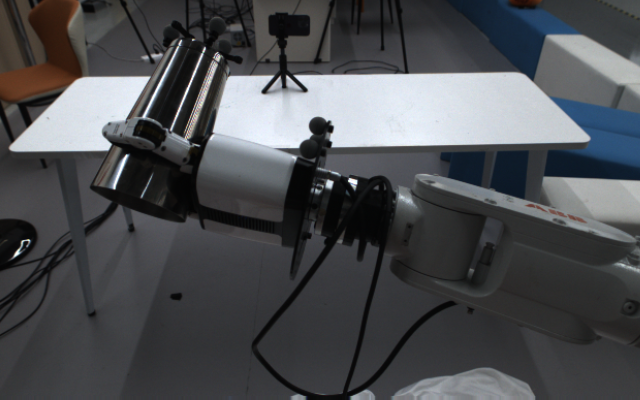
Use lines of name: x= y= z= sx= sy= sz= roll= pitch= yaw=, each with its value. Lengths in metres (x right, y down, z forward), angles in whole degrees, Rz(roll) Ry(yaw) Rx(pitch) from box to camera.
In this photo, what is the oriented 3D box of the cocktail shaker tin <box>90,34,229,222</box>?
cocktail shaker tin: x=-0.150 y=-0.071 z=0.487 sx=0.093 sy=0.093 sz=0.170 roll=12 pitch=73 yaw=15
